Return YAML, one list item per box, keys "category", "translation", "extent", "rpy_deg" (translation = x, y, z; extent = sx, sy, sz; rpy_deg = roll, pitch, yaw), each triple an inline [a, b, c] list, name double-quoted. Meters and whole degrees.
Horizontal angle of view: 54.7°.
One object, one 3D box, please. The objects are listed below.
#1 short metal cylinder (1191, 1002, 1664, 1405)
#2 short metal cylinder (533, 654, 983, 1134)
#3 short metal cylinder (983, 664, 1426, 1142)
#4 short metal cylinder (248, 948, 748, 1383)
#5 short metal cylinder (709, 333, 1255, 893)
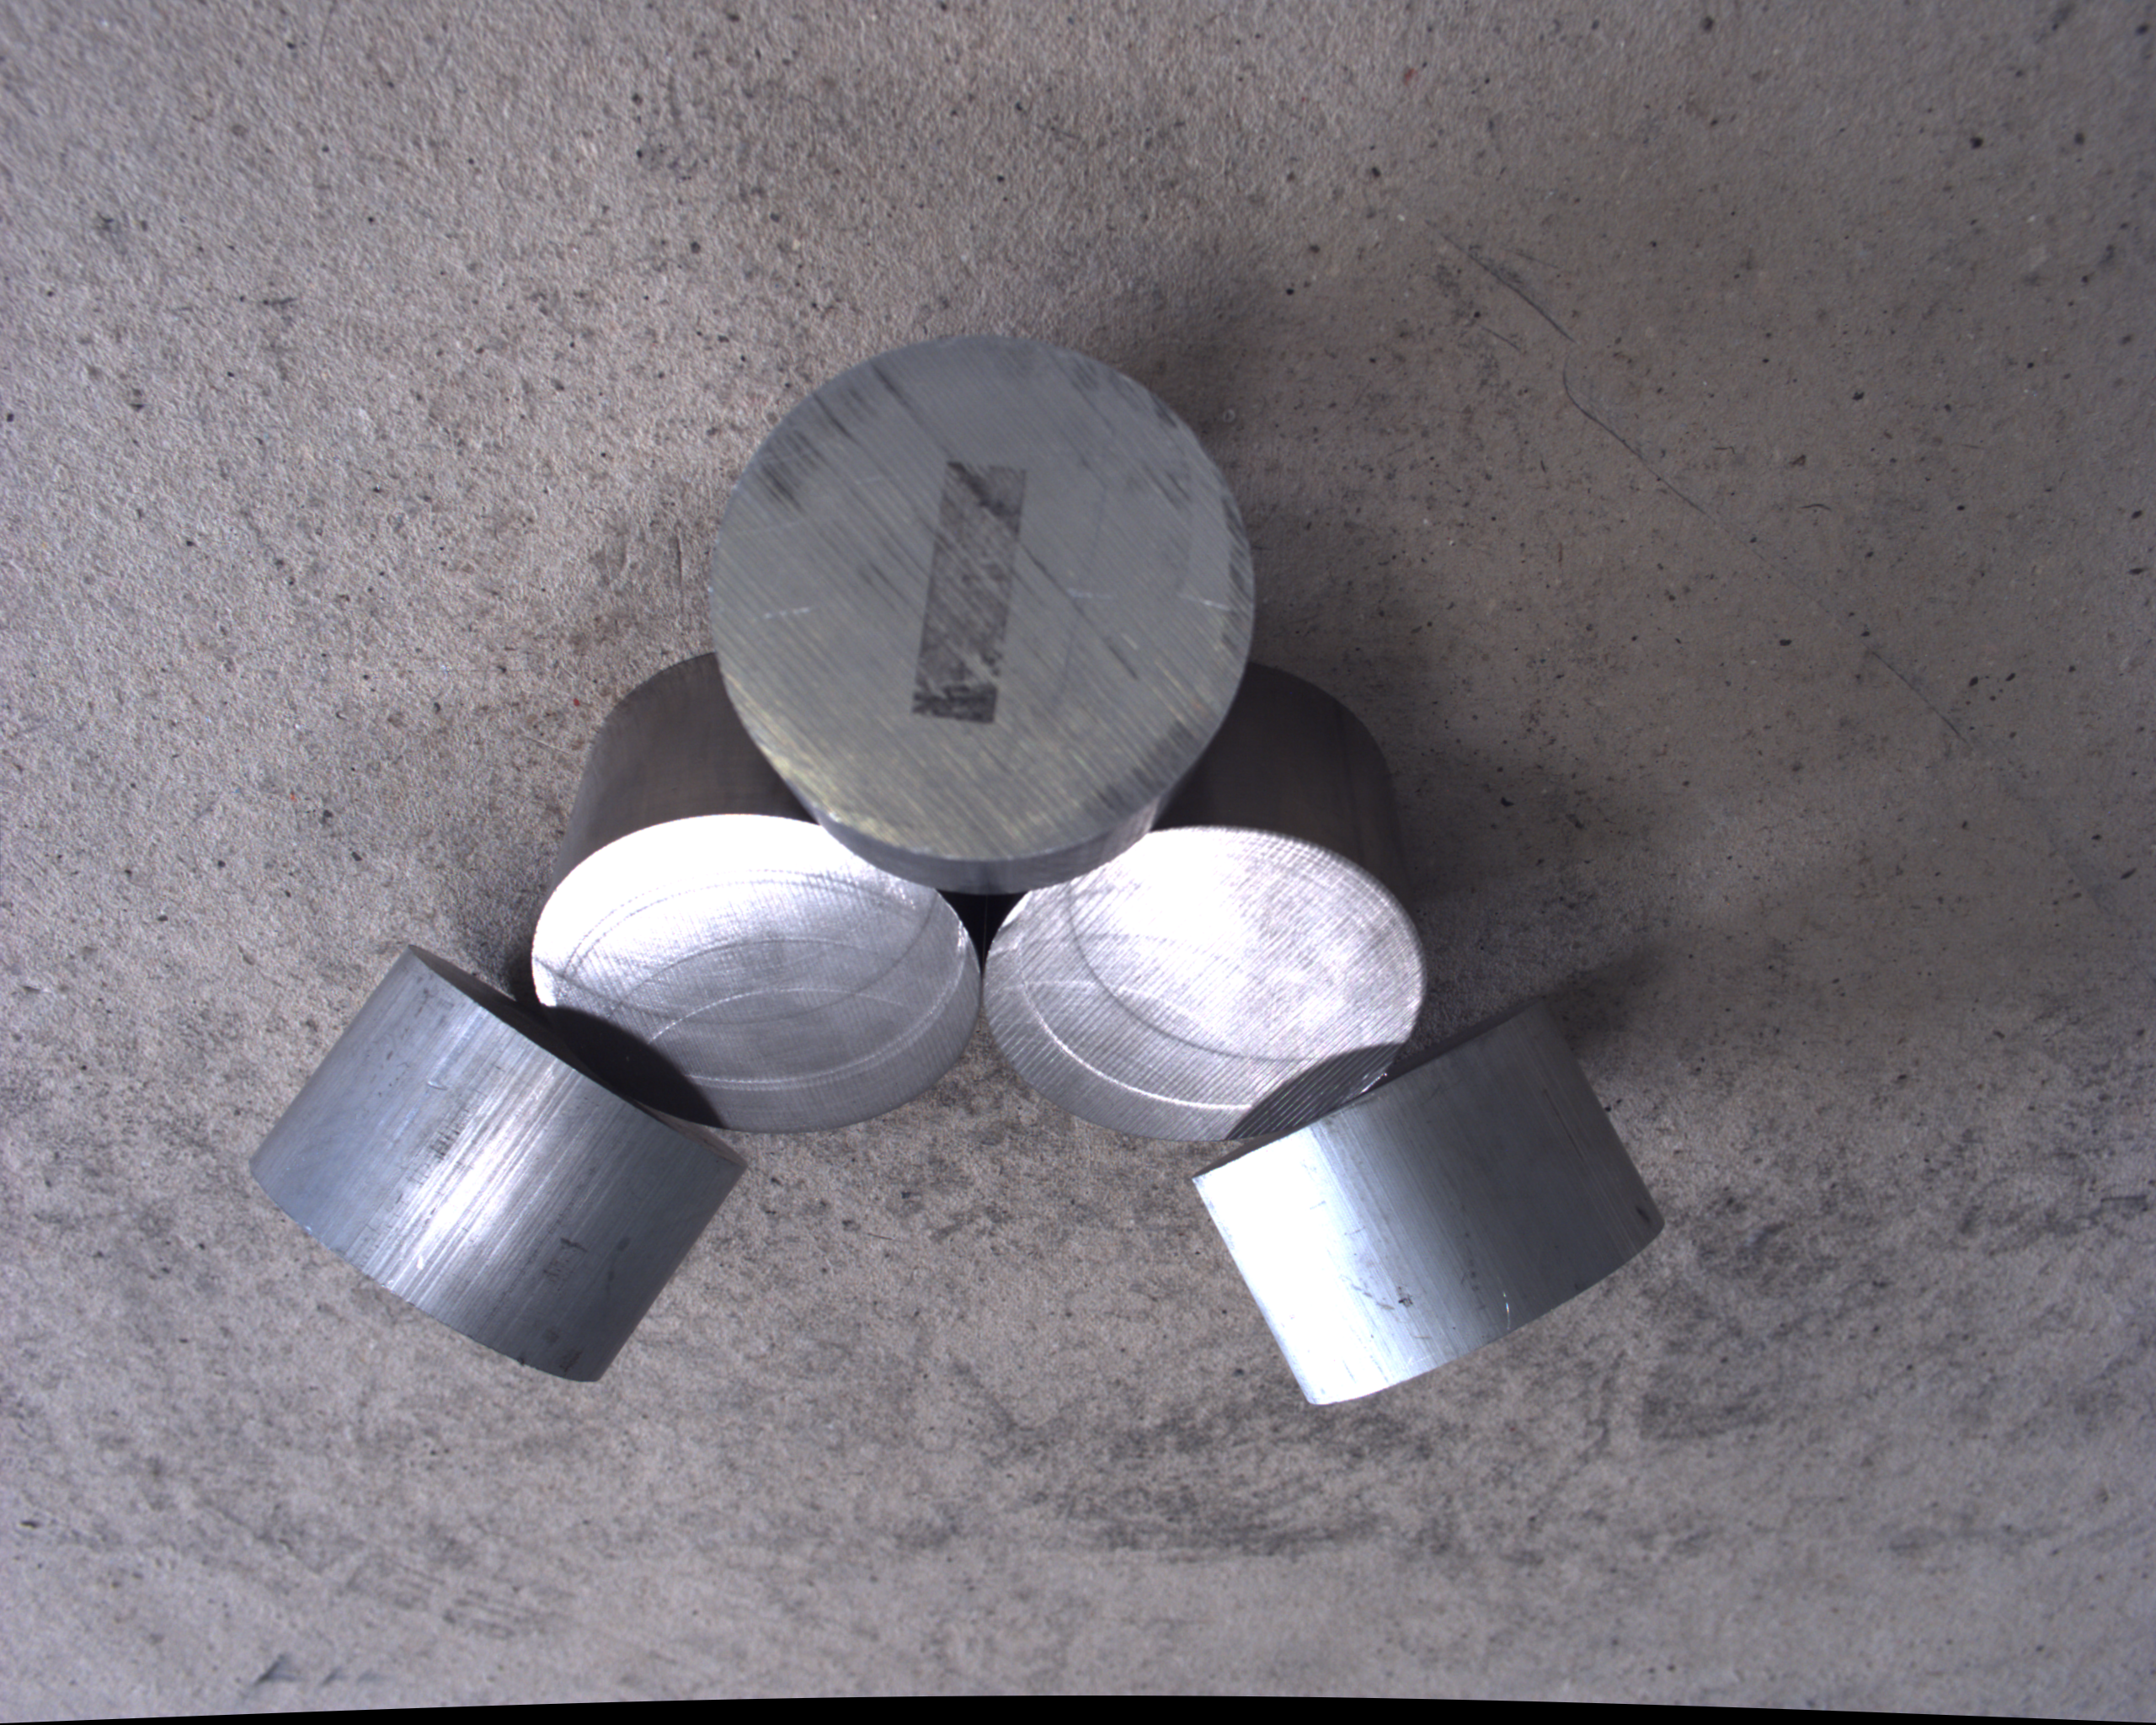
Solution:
- category: "short metal cylinder"
  translation: [0.070, 0.068, 0.423]
  extent: [0.080, 0.080, 0.050]
  rpy_deg: [-30, 83, 23]
- category: "short metal cylinder"
  translation: [-0.058, 0.006, 0.396]
  extent: [0.081, 0.050, 0.079]
  rpy_deg: [0, 130, 0]
- category: "short metal cylinder"
  translation: [0.023, 0.008, 0.399]
  extent: [0.081, 0.050, 0.079]
  rpy_deg: [0, 130, 0]
- category: "short metal cylinder"
  translation: [-0.113, 0.059, 0.413]
  extent: [0.080, 0.080, 0.050]
  rpy_deg: [39, 80, -28]
- category: "short metal cylinder"
  translation: [-0.015, -0.037, 0.333]
  extent: [0.081, 0.080, 0.050]
  rpy_deg: [1, 173, -1]
